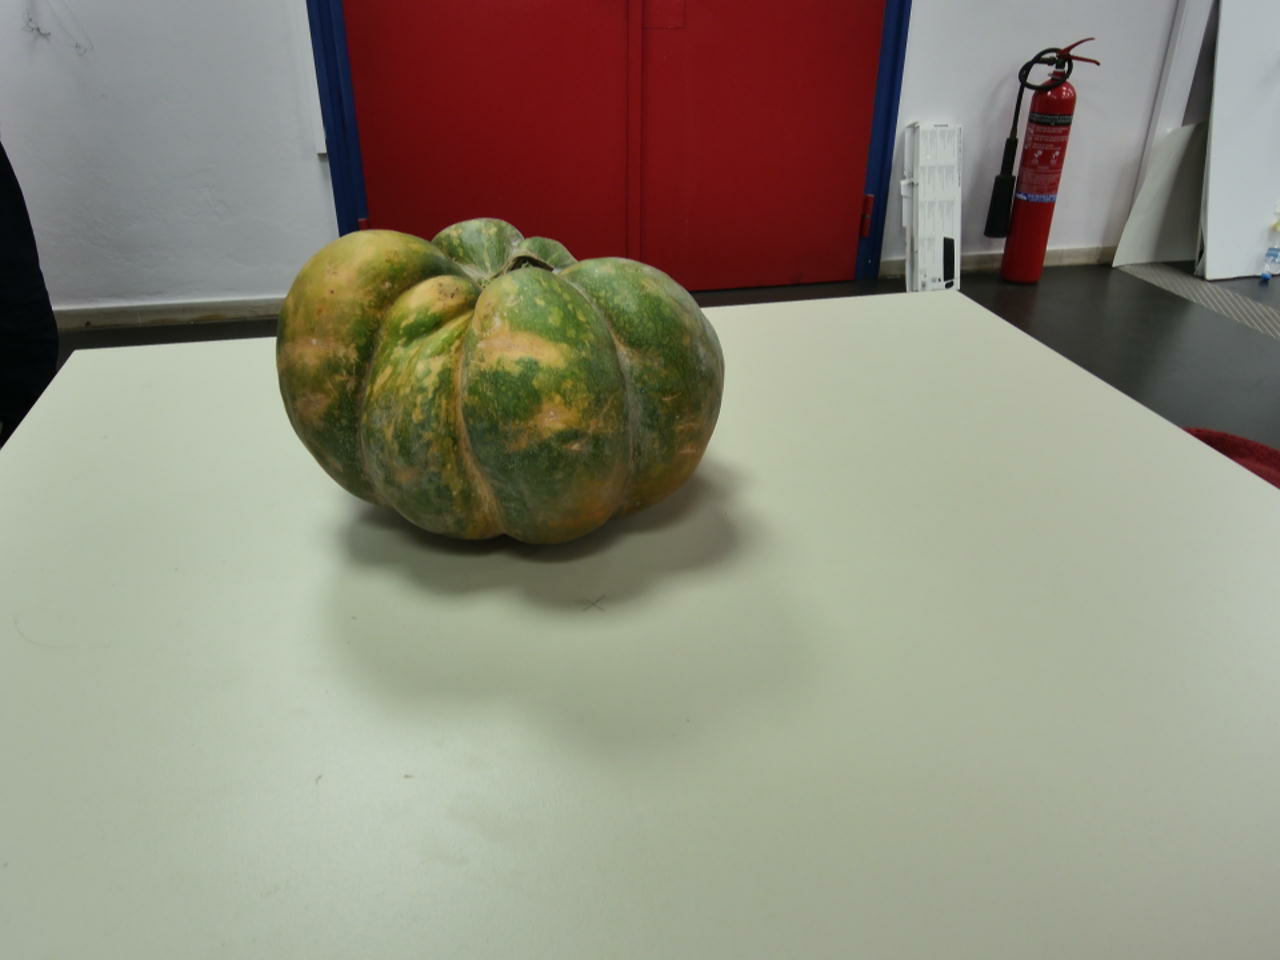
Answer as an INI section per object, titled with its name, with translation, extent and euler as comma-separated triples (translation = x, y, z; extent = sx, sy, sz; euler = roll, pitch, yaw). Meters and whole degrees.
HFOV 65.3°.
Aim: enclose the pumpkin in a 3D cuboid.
[pumpkin]
translation = -0.078, -0.067, 0.591
extent = 0.270, 0.173, 0.237
euler = 12, 29, 22
